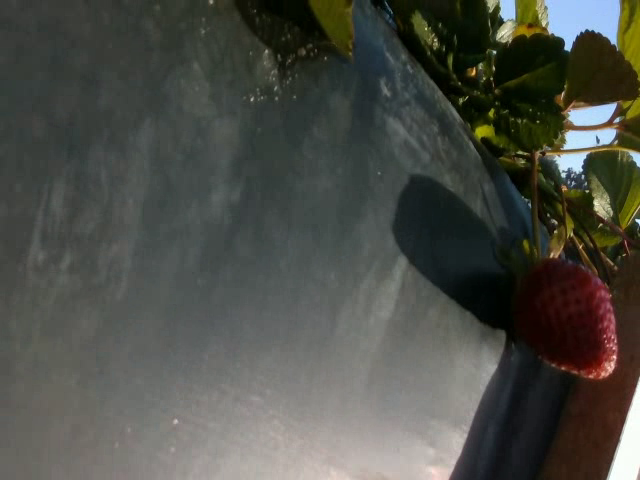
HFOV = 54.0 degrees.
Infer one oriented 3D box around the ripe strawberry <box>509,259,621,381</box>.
[{"bbox_3d":[0.059,0.021,0.151,0.034,0.033,0.038,44,12,-26],"label":"ripe strawberry"}]
